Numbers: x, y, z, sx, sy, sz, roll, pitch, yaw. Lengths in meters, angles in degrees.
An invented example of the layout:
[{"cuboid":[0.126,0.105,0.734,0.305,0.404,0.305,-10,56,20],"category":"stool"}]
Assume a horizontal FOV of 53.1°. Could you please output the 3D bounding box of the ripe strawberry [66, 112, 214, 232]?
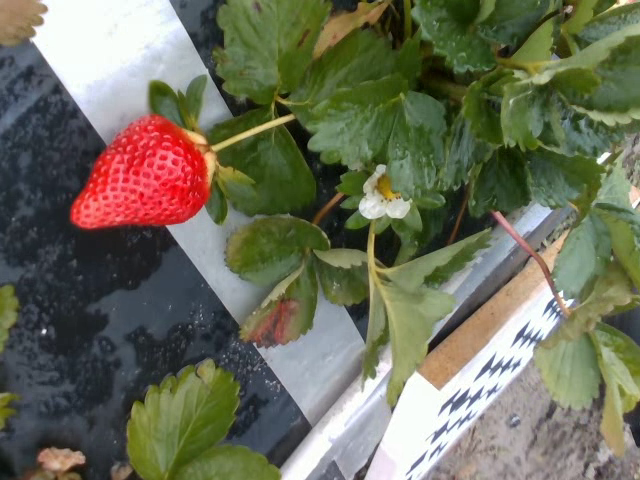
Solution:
[{"cuboid":[-0.060,-0.019,0.208,0.051,0.037,0.042,-35,-25,-31],"category":"ripe strawberry"}]
